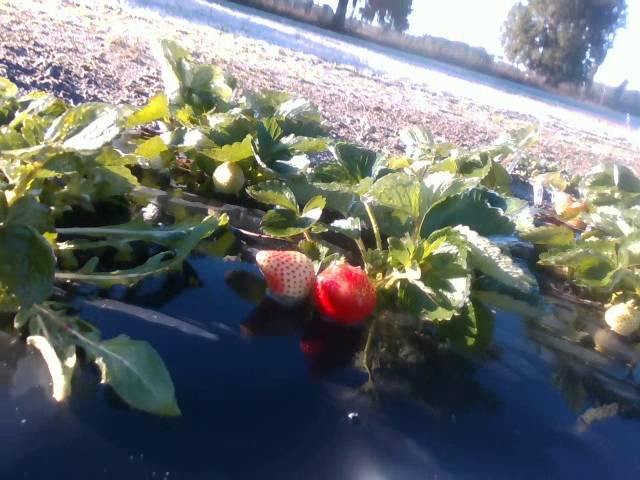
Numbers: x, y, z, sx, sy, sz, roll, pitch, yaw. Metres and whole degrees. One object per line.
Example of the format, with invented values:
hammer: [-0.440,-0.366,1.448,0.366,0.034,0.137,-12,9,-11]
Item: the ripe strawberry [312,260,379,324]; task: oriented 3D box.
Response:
ripe strawberry: [0.015,0.027,0.339,0.040,0.038,0.056,-14,-23,0]
